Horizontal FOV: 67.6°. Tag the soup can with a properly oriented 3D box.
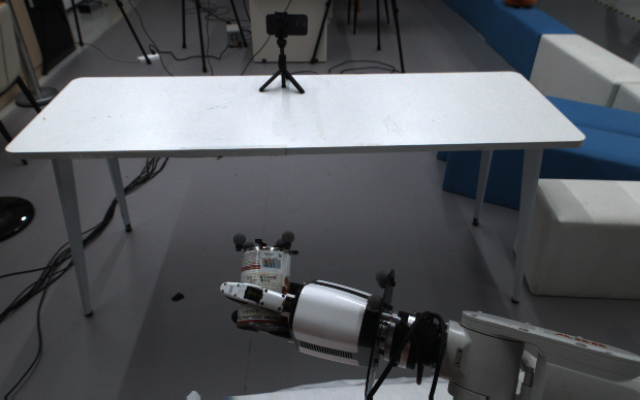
[{"bbox_3d":[-0.072,0.121,0.644,0.067,0.067,0.101,1,68,-1],"label":"soup can"}]
